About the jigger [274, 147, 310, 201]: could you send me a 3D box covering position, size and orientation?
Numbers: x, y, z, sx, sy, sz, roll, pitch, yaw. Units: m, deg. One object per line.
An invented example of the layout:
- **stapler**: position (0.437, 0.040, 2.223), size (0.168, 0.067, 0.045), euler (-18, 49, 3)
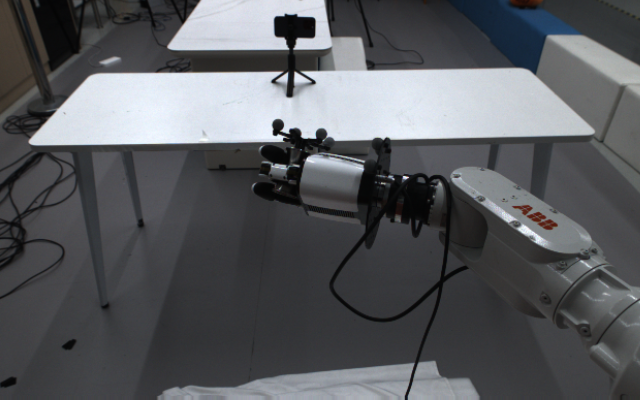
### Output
- **jigger**: position (-0.038, -0.040, 0.714), size (0.043, 0.071, 0.043), euler (15, -7, 2)
